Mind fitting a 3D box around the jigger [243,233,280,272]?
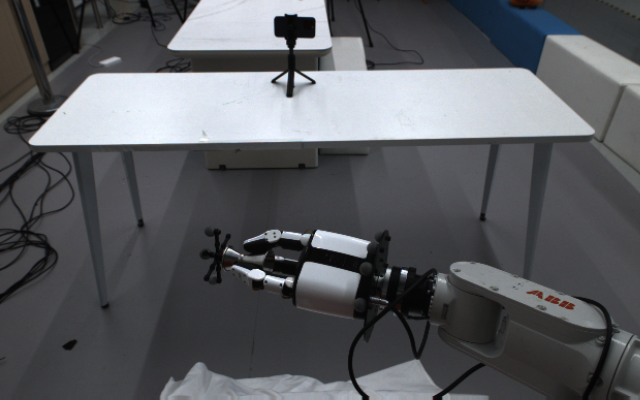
[{"bbox_3d":[-0.101,0.089,0.725,0.071,0.043,0.043,6,34,16],"label":"jigger"}]
